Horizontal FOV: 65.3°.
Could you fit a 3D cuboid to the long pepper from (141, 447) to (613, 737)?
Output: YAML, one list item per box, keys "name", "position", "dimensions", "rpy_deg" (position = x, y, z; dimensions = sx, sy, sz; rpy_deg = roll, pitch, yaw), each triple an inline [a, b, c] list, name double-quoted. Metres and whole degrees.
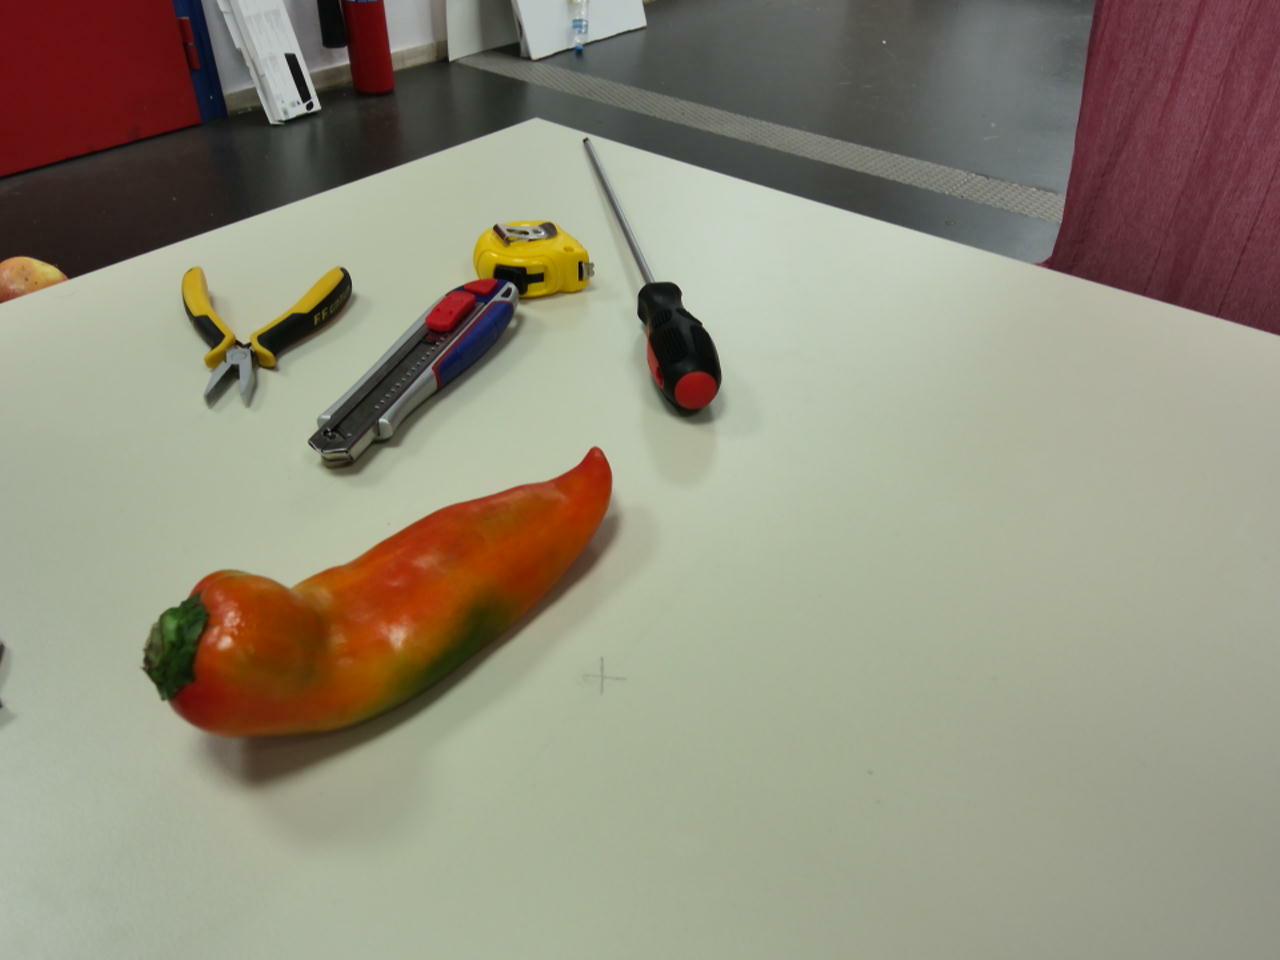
- name: "long pepper"
  position: [-0.079, 0.029, 0.368]
  dimensions: [0.066, 0.065, 0.199]
  rpy_deg: [29, 44, 33]
